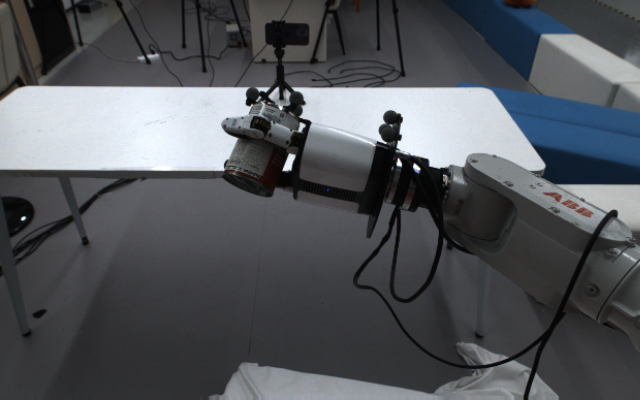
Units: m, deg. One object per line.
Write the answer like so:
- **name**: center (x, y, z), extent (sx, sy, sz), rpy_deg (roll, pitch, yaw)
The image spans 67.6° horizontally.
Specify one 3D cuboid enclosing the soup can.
- **soup can**: center (-0.072, -0.063, 0.608), extent (0.067, 0.067, 0.101), rpy_deg (16, 76, 19)
